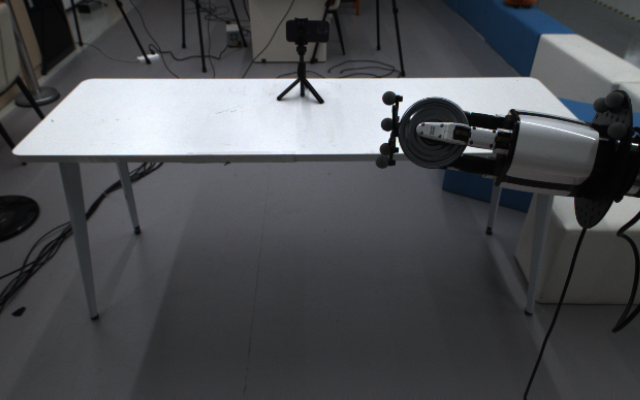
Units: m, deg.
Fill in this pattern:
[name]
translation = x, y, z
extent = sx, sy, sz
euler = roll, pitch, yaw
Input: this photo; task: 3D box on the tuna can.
[tuna can]
translation = 0.140, -0.086, 0.597
extent = 0.085, 0.085, 0.034
euler = 10, 2, 11
